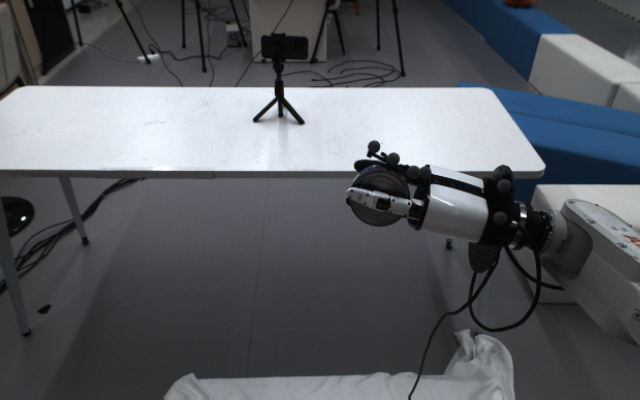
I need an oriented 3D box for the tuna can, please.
[{"bbox_3d":[0.087,-0.010,0.694,0.085,0.085,0.034,7,17,7],"label":"tuna can"}]
